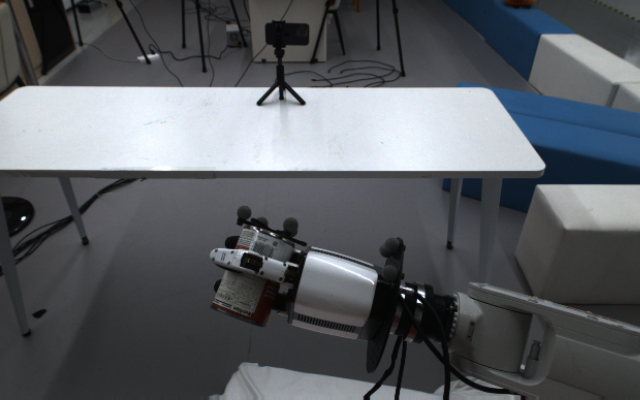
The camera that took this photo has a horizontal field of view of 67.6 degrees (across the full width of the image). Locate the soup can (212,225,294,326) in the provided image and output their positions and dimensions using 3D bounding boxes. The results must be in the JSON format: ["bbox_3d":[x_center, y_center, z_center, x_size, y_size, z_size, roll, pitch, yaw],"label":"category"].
[{"bbox_3d":[-0.075,0.089,0.565,0.067,0.067,0.101,16,75,19],"label":"soup can"}]
